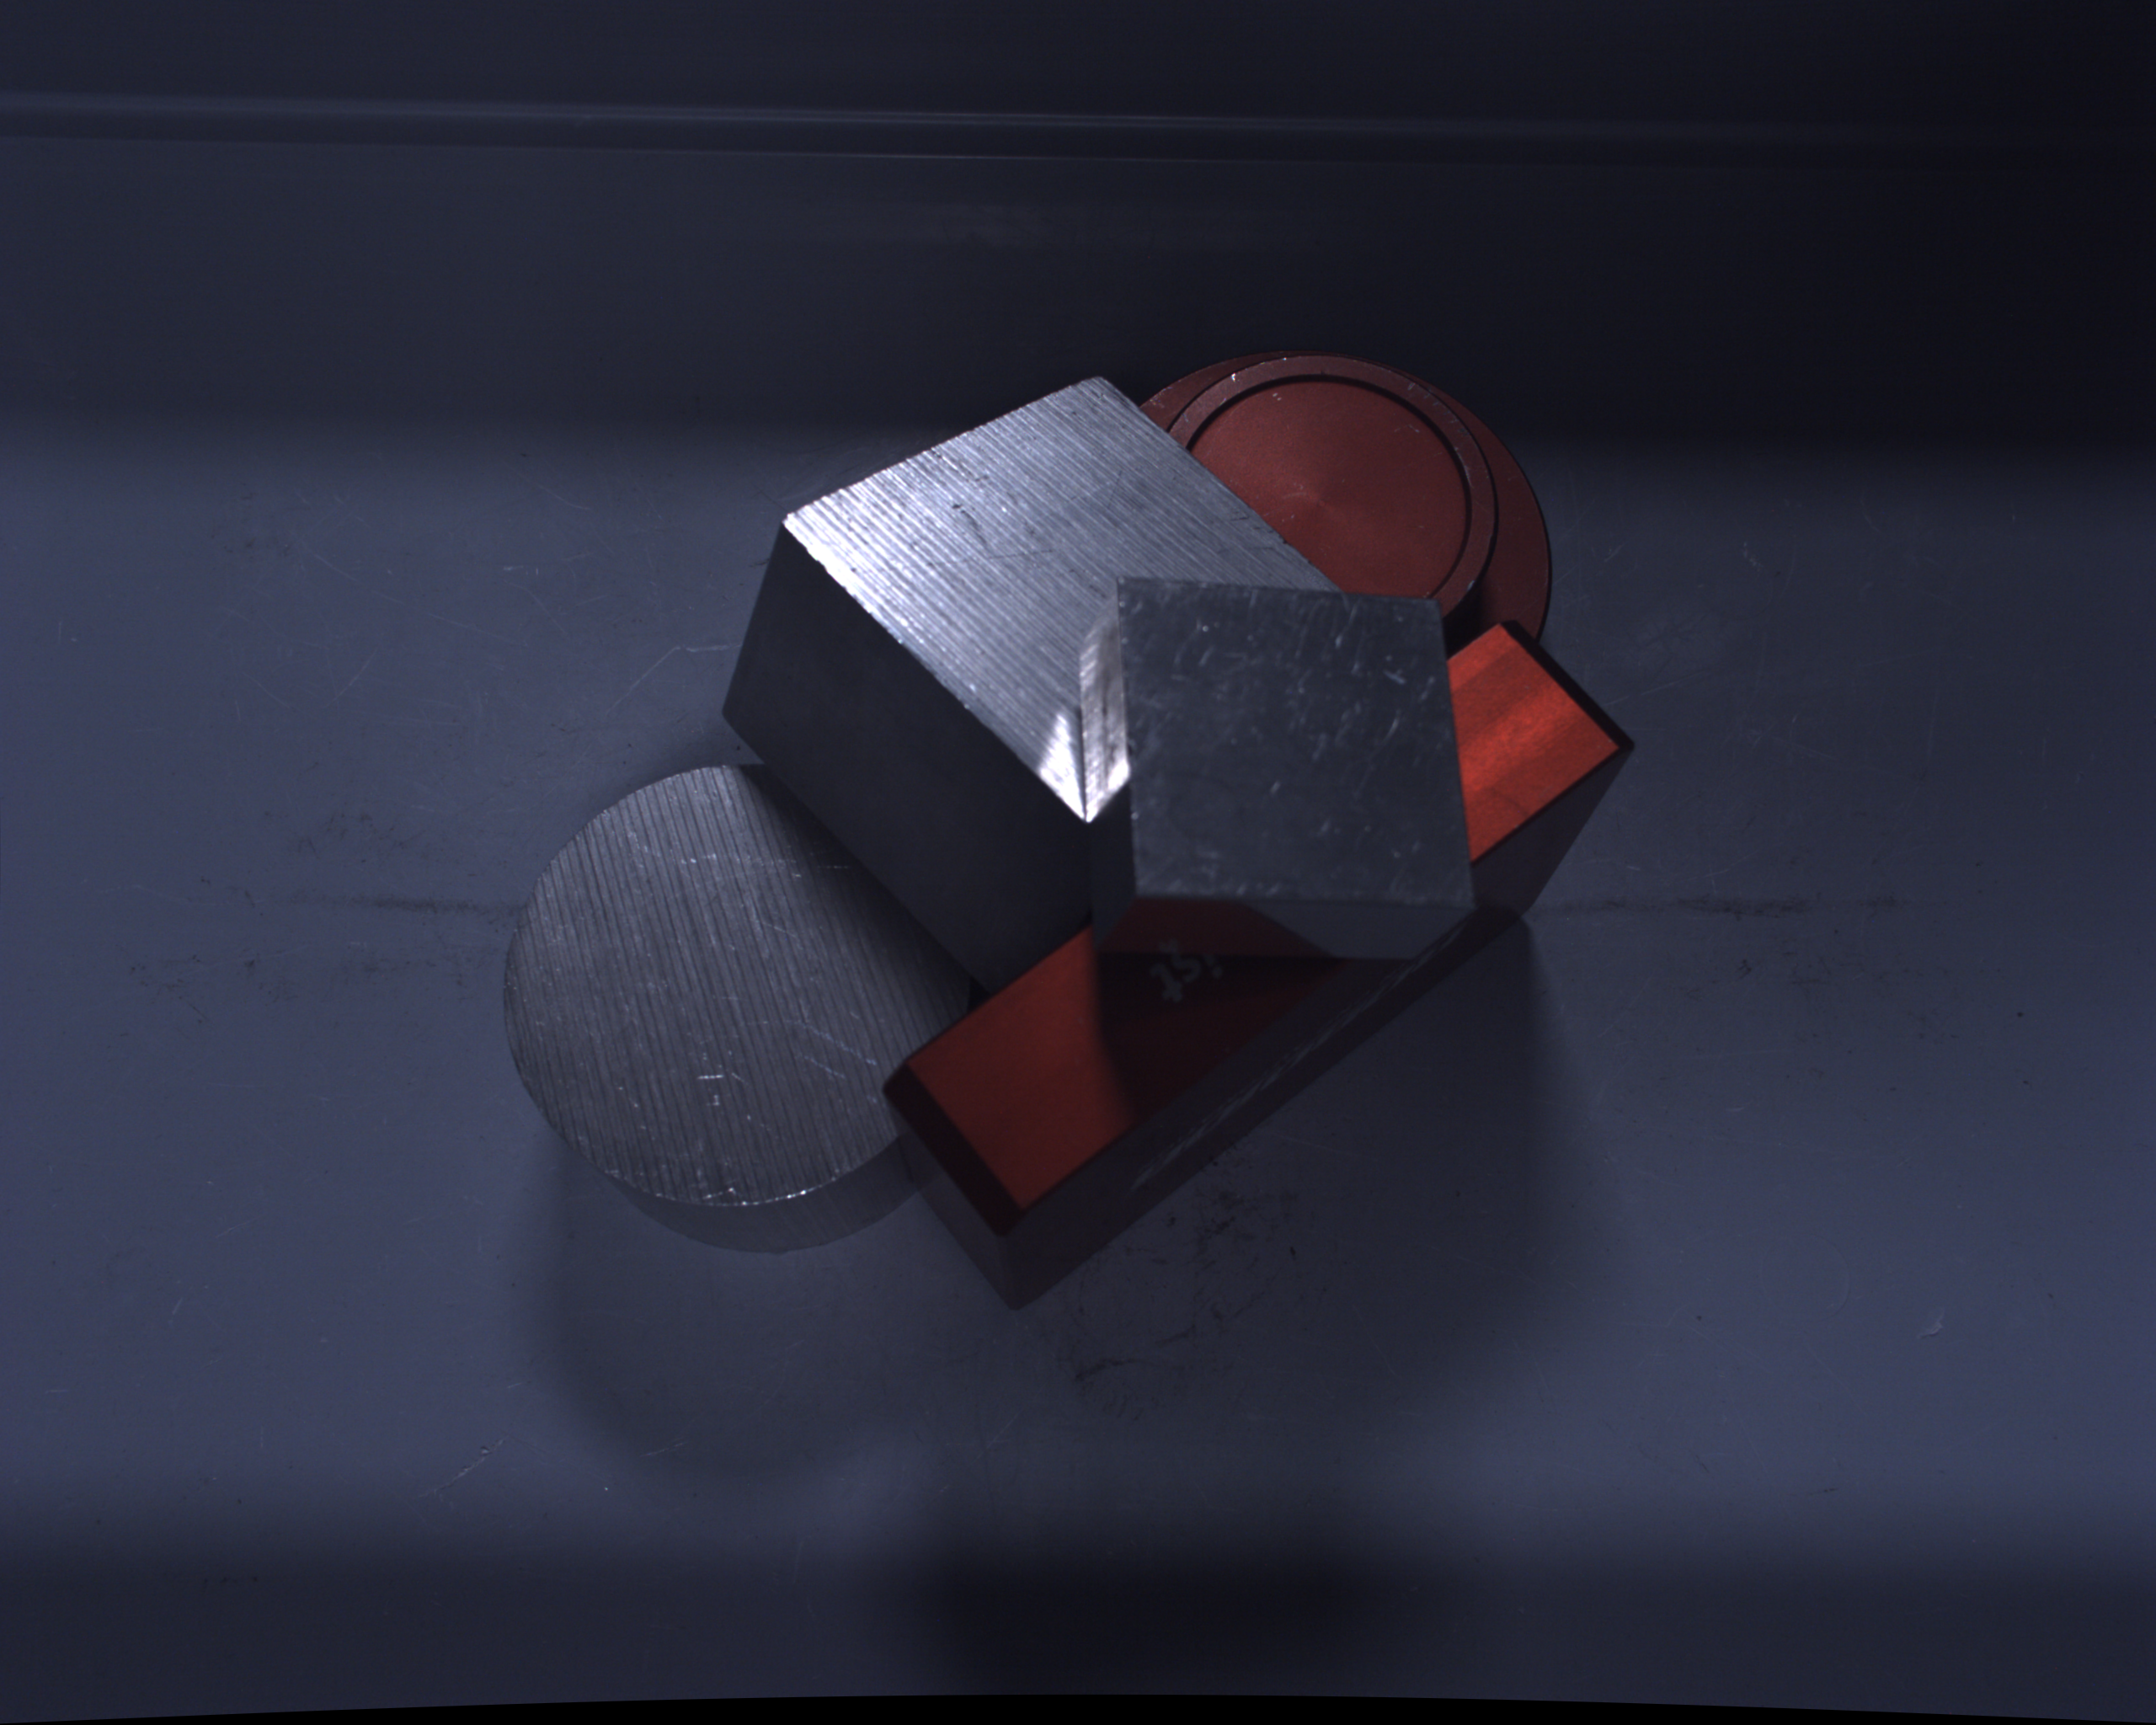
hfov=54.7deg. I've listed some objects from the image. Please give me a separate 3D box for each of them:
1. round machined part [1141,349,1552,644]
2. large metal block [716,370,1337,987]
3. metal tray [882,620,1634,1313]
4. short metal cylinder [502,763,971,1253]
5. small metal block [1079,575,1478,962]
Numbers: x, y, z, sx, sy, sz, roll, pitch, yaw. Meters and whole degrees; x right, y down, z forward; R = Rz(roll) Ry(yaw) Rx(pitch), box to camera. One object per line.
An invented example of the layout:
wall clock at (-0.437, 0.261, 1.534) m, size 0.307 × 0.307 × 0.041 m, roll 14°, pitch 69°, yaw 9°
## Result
round machined part at (0.047, -0.063, 0.422) m, size 0.099 × 0.042 × 0.098 m, roll 0°, pitch 70°, yaw -1°
large metal block at (-0.003, -0.031, 0.368) m, size 0.080 × 0.050 × 0.081 m, roll 45°, pitch 51°, yaw 14°
metal tray at (0.030, 0.021, 0.365) m, size 0.131 × 0.090 × 0.030 m, roll -36°, pitch 74°, yaw -13°
short metal cylinder at (-0.059, 0.028, 0.383) m, size 0.081 × 0.050 × 0.080 m, roll 0°, pitch 70°, yaw 0°
small metal block at (0.029, -0.013, 0.312) m, size 0.050 × 0.025 × 0.050 m, roll 2°, pitch 69°, yaw -14°
